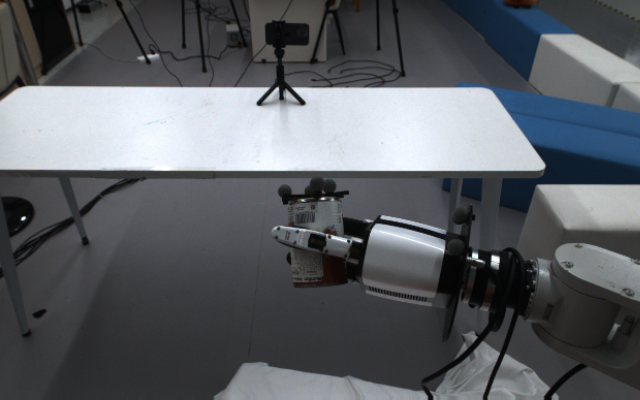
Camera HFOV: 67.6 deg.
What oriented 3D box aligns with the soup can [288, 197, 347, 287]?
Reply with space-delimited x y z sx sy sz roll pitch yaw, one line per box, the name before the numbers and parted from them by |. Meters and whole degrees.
soup can | -0.001 0.051 0.582 0.067 0.101 0.067 -5 -5 0
